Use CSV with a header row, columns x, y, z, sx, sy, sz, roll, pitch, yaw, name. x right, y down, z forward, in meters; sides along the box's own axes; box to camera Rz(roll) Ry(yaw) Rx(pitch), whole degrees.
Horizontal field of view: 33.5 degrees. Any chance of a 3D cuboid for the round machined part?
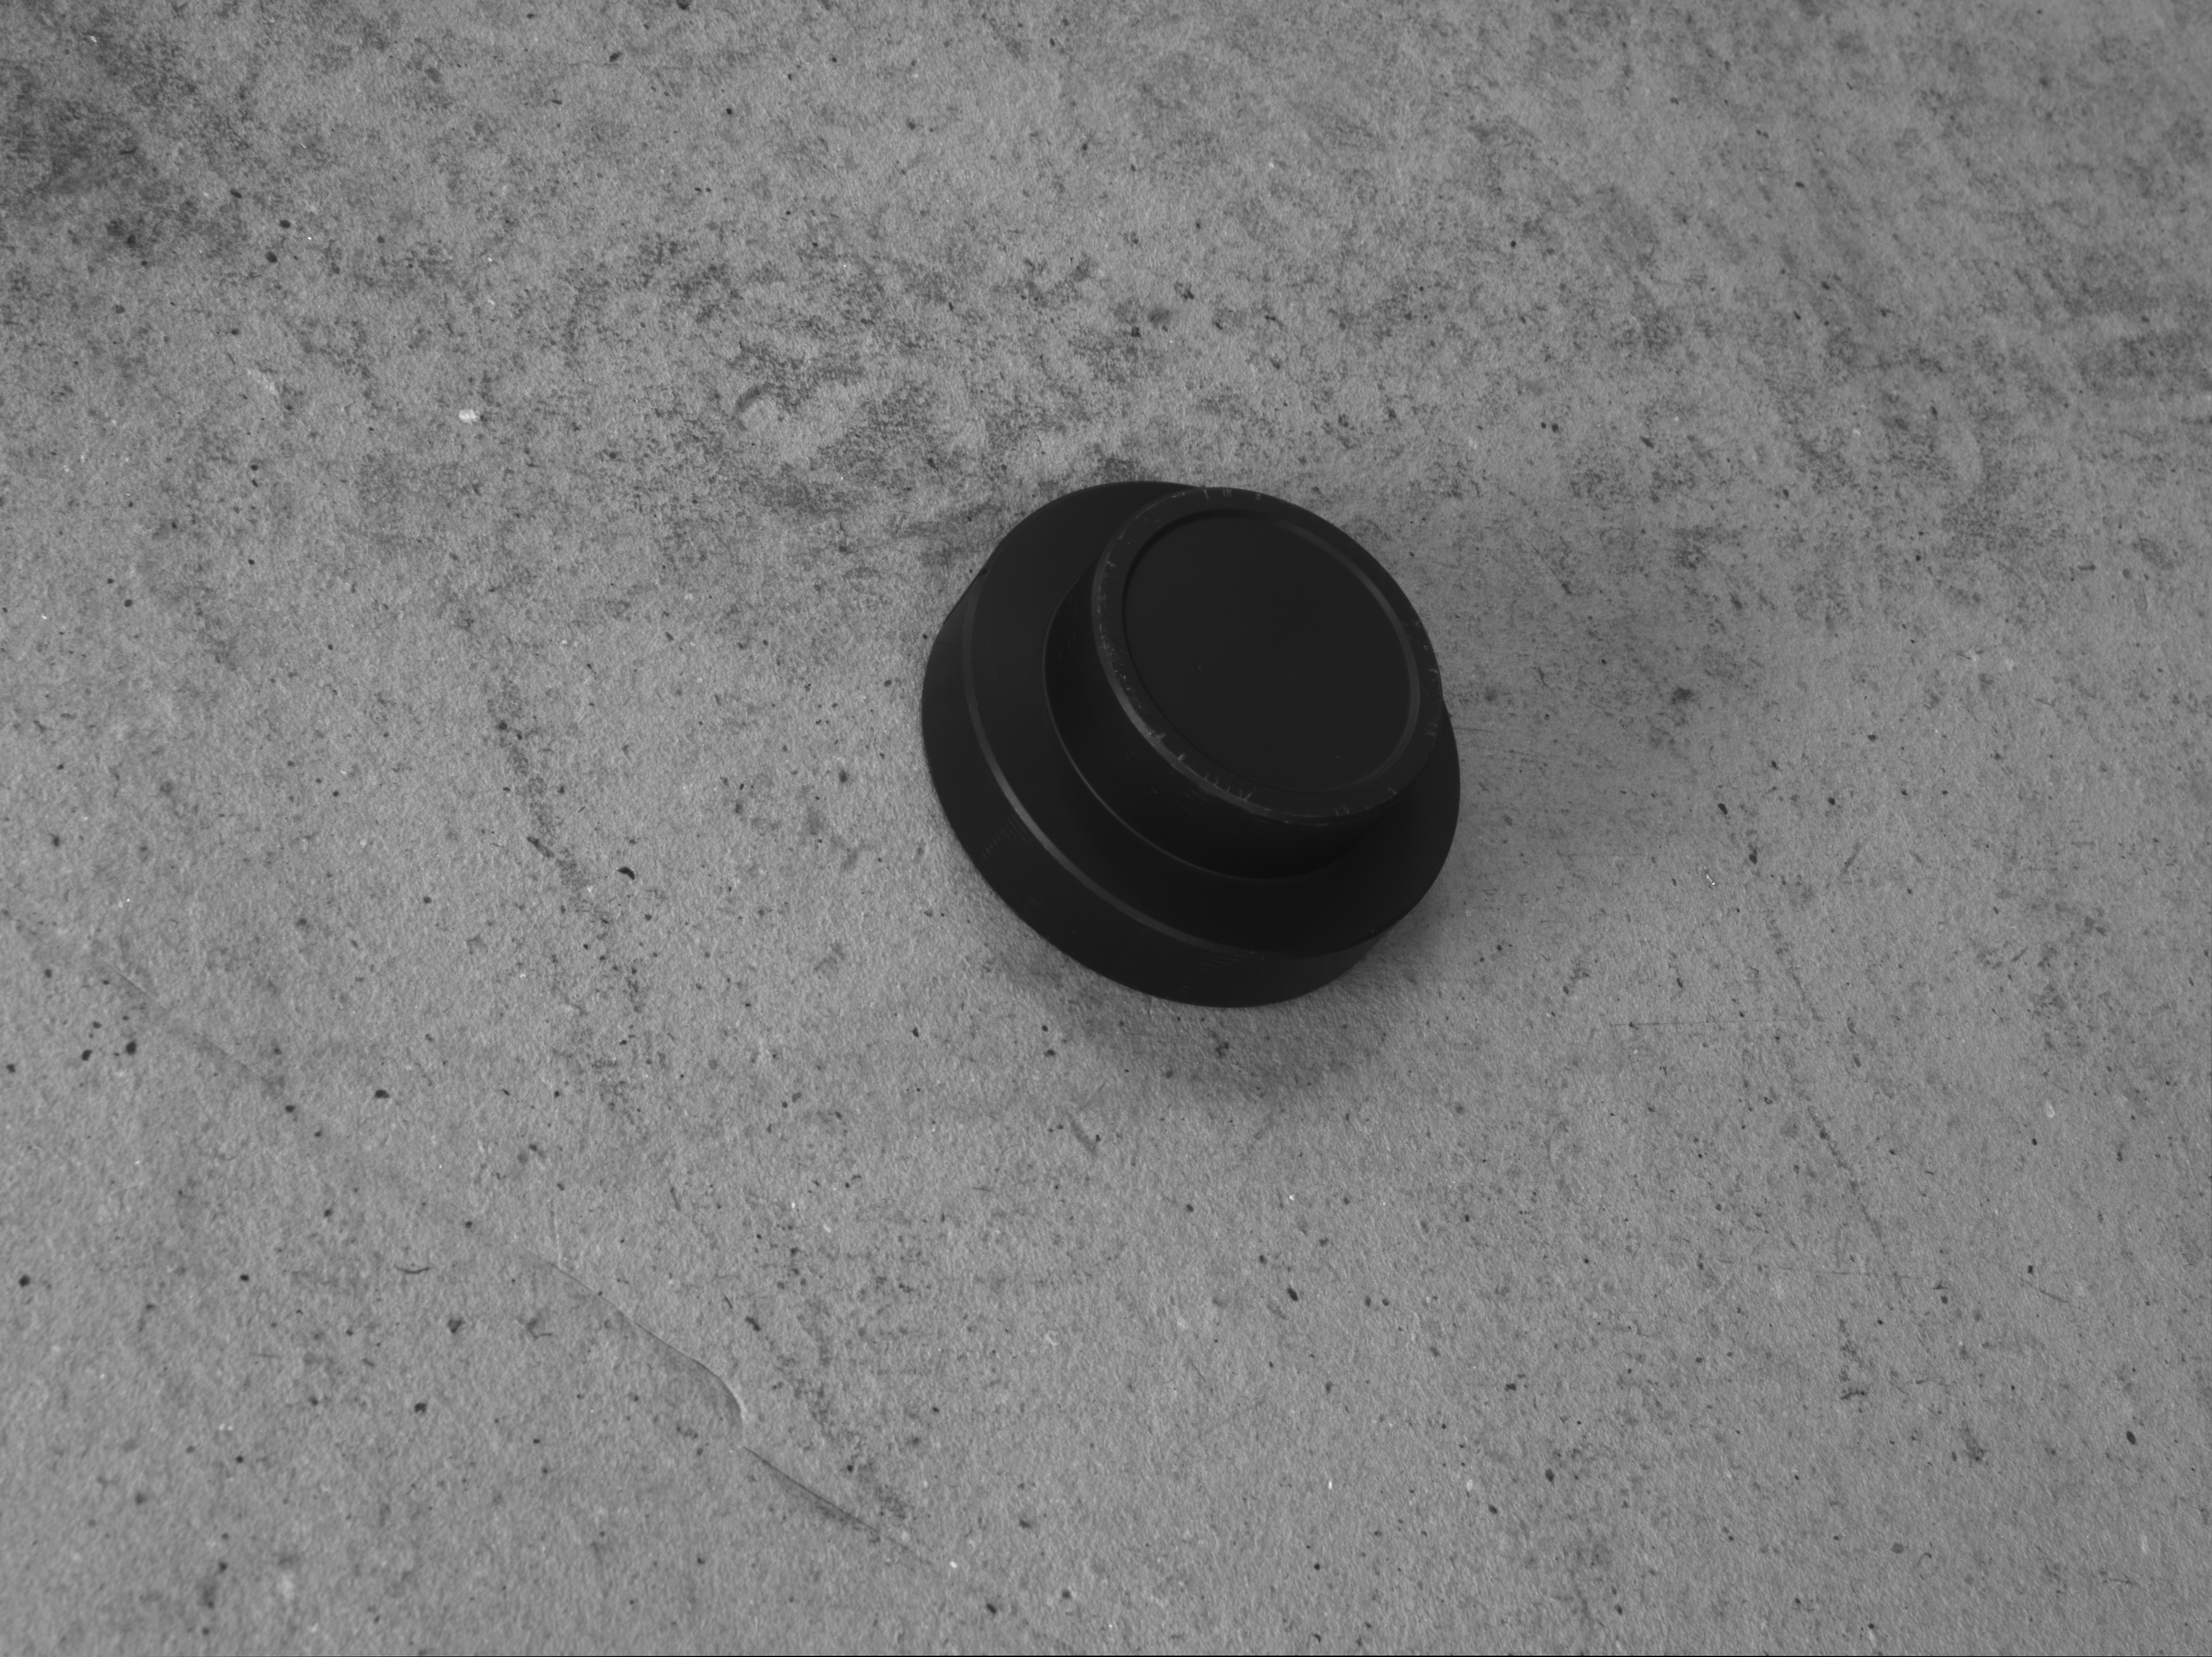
x,y,z,sx,sy,sz,roll,pitch,yaw,name
0.020,-0.021,0.652,0.098,0.042,0.098,13,56,-21,round machined part
